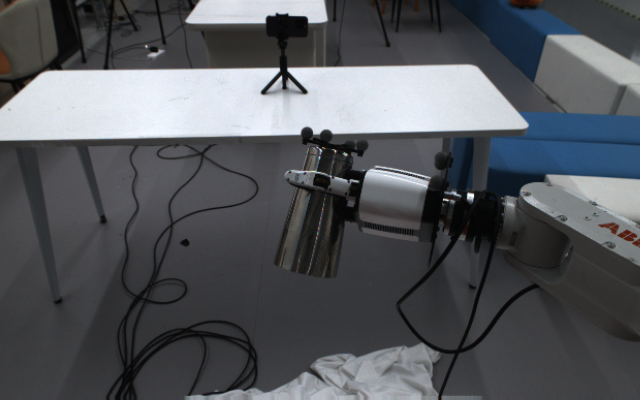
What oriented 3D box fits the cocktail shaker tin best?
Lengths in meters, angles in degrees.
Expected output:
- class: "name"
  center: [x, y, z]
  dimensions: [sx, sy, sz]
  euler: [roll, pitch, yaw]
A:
- class: "cocktail shaker tin"
  center: [0.000, 0.012, 0.683]
  dimensions: [0.093, 0.170, 0.093]
  euler: [13, 1, 0]
